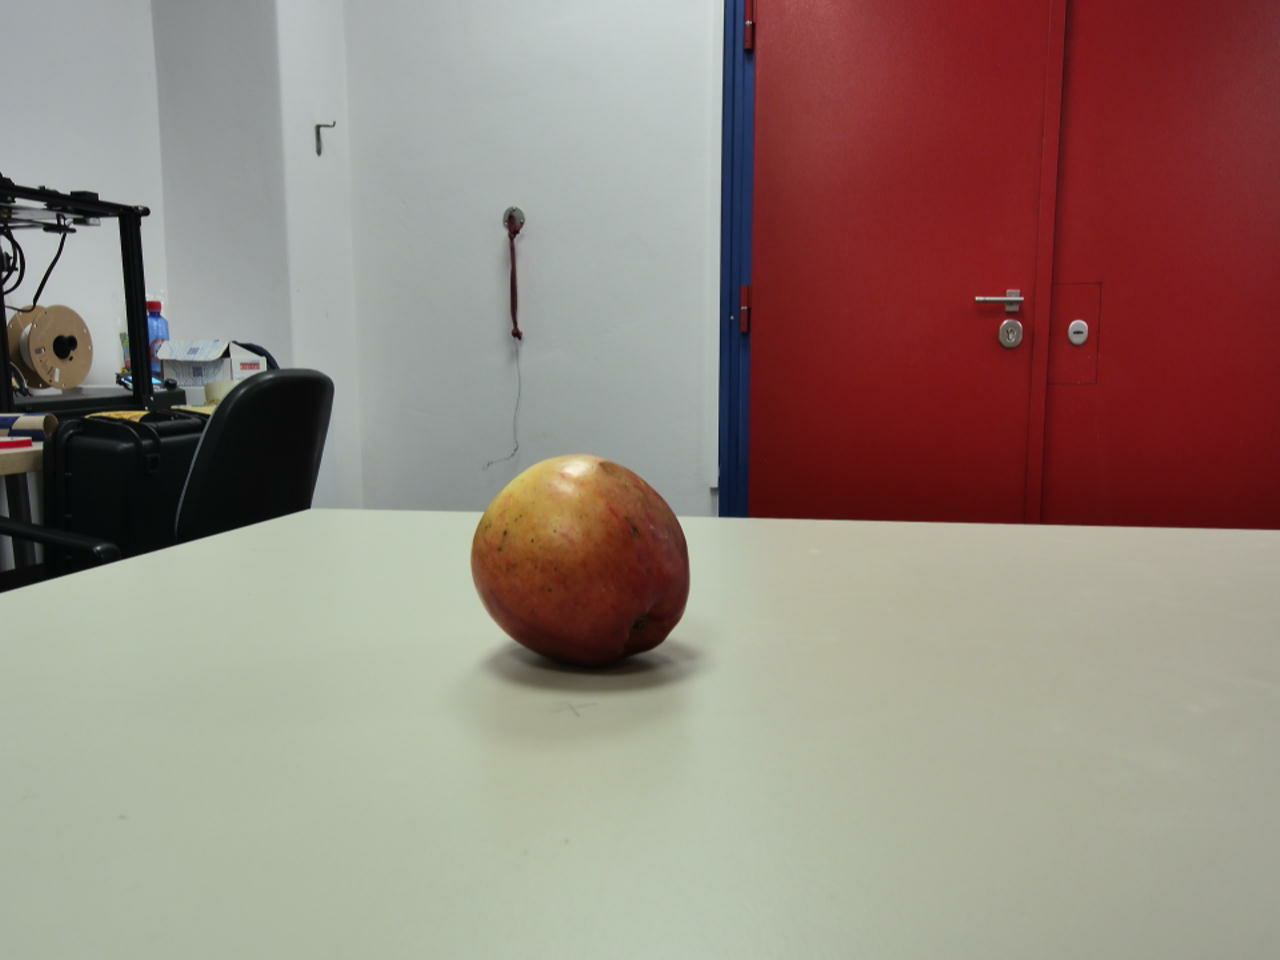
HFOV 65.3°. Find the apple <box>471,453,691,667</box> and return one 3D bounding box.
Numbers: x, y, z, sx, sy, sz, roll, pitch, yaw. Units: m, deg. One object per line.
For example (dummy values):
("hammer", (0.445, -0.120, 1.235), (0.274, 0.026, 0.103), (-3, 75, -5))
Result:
("apple", (-0.025, 0.032, 0.417), (0.086, 0.084, 0.093), (-2, 4, -24))
